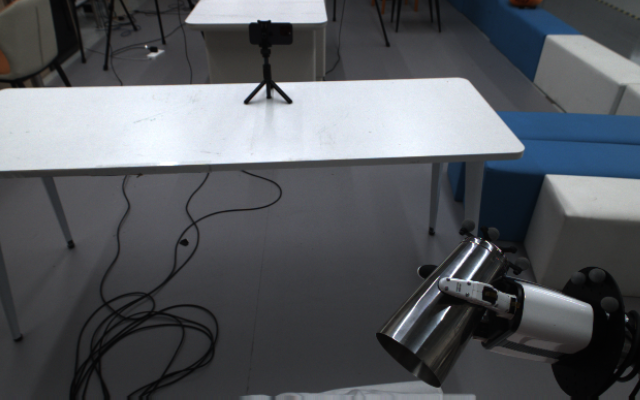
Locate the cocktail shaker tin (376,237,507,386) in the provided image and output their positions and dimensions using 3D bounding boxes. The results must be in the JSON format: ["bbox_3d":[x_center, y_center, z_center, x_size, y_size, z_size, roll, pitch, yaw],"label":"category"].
[{"bbox_3d":[0.157,0.122,0.587,0.093,0.093,0.170,32,67,35],"label":"cocktail shaker tin"}]
